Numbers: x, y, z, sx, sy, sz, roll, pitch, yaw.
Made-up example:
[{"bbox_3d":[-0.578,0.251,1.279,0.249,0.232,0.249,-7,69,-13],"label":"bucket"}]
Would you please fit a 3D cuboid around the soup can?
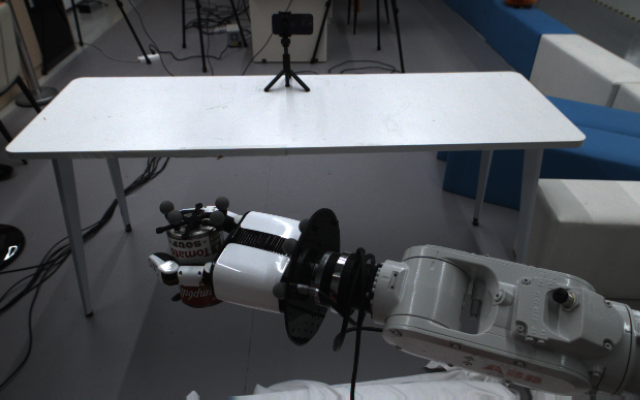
[{"bbox_3d":[-0.148,0.075,0.608,0.067,0.101,0.067,-4,26,2],"label":"soup can"}]
